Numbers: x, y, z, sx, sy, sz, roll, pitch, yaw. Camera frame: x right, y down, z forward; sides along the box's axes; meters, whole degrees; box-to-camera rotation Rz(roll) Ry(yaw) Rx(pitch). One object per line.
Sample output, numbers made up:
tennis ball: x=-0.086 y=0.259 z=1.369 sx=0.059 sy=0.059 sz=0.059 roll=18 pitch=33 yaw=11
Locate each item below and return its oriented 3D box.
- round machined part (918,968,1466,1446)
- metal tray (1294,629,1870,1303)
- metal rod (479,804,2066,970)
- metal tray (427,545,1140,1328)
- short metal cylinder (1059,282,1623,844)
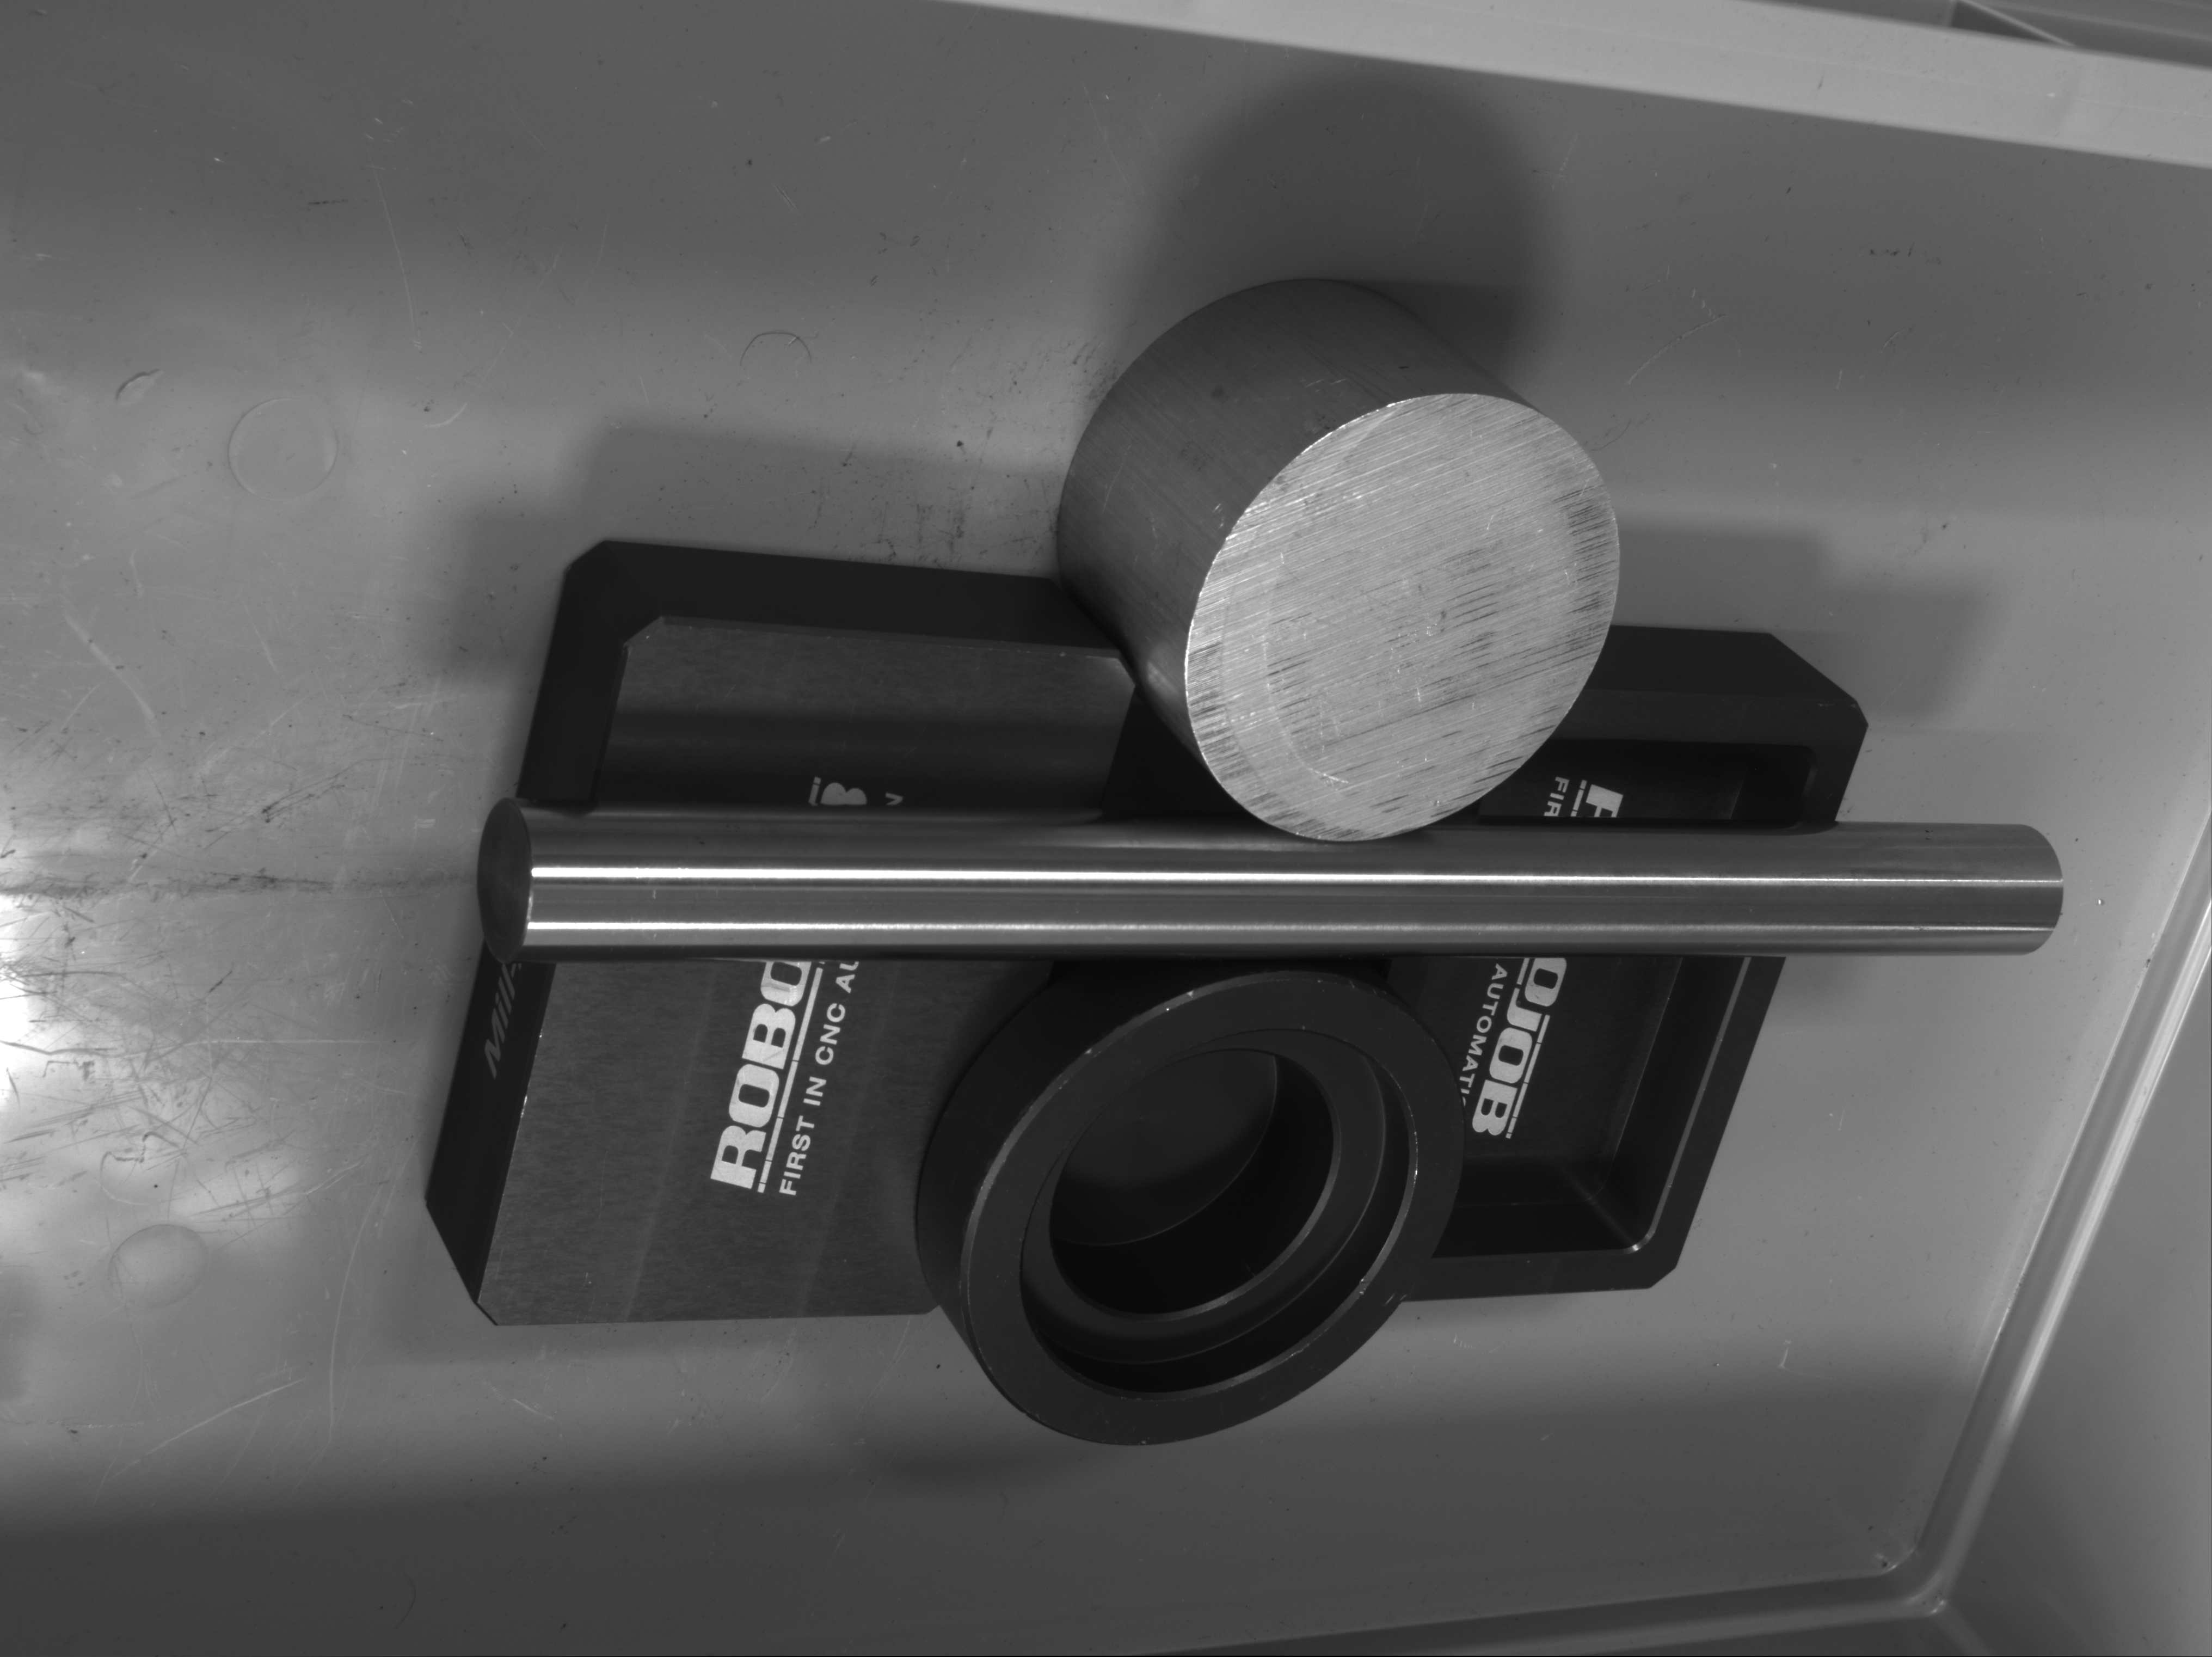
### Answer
round machined part: x=0.012 y=0.058 z=0.655 sx=0.098 sy=0.042 sz=0.098 roll=-13 pitch=124 yaw=-21
metal tray: x=0.082 y=0.027 z=0.693 sx=0.090 sy=0.030 sz=0.130 roll=1 pitch=118 yaw=-29
metal rod: x=0.042 y=0.010 z=0.625 sx=0.301 sy=0.025 sz=0.025 roll=1 pitch=118 yaw=-29
metal tray: x=-0.055 y=0.021 z=0.614 sx=0.090 sy=0.030 sz=0.130 roll=3 pitch=117 yaw=-29
short metal cylinder: x=0.039 y=-0.045 z=0.613 sx=0.080 sy=0.050 sz=0.080 roll=-13 pitch=124 yaw=-21
